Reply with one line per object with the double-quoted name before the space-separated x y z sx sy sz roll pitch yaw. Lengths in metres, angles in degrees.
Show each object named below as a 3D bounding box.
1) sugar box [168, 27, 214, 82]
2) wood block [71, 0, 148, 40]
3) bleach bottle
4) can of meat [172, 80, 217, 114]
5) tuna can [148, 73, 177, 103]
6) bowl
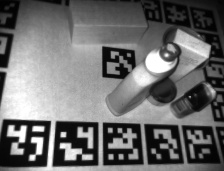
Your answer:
"sugar box" 0.178 -0.077 0.573 0.093 0.176 0.045 23 66 -1
"wood block" -0.008 -0.192 0.621 0.208 0.089 0.090 -4 73 -18
"bleach bottle" 0.067 -0.021 0.481 0.103 0.250 0.067 -21 73 -21
"can of meat" 0.228 0.028 0.603 0.102 0.083 0.057 -25 73 -25
"tuna can" 0.140 0.005 0.608 0.086 0.033 0.085 5 70 -13
"bowl" 0.241 -0.122 0.680 0.162 0.055 0.161 5 67 -10
